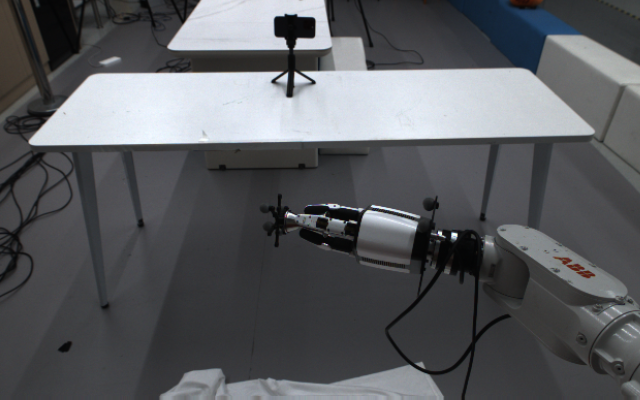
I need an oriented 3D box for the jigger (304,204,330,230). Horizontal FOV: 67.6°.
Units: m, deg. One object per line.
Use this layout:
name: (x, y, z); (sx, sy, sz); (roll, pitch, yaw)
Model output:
jigger: (-0.014, 0.032, 0.794); (0.071, 0.043, 0.043); (3, 34, 16)
